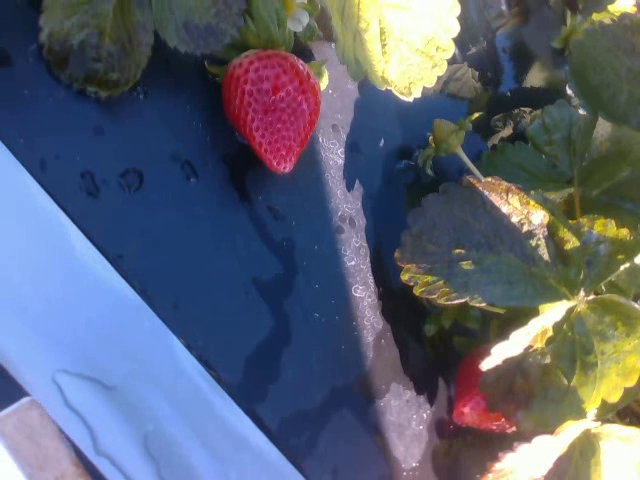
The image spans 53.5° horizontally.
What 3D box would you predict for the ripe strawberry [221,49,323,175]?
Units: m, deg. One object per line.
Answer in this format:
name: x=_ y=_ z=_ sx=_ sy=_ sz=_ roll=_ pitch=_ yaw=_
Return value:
ripe strawberry: x=-0.017 y=-0.049 z=0.244 sx=0.045 sy=0.059 sz=0.042 roll=-4 pitch=-14 yaw=6
